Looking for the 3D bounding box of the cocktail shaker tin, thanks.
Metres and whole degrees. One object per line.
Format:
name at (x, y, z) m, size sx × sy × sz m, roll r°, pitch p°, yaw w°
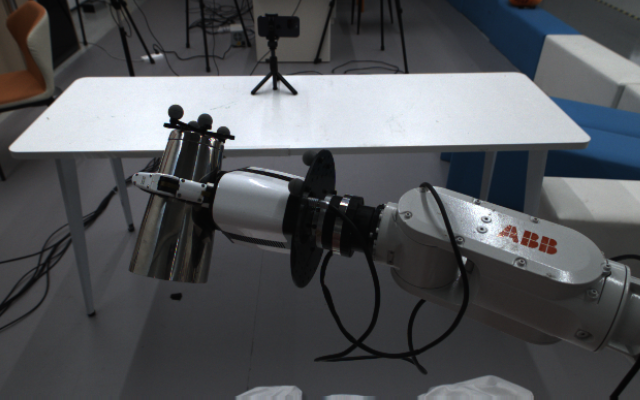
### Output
cocktail shaker tin at (-0.163, 0.008, 0.583) m, size 0.093 × 0.170 × 0.093 m, roll 10°, pitch -5°, yaw 1°
